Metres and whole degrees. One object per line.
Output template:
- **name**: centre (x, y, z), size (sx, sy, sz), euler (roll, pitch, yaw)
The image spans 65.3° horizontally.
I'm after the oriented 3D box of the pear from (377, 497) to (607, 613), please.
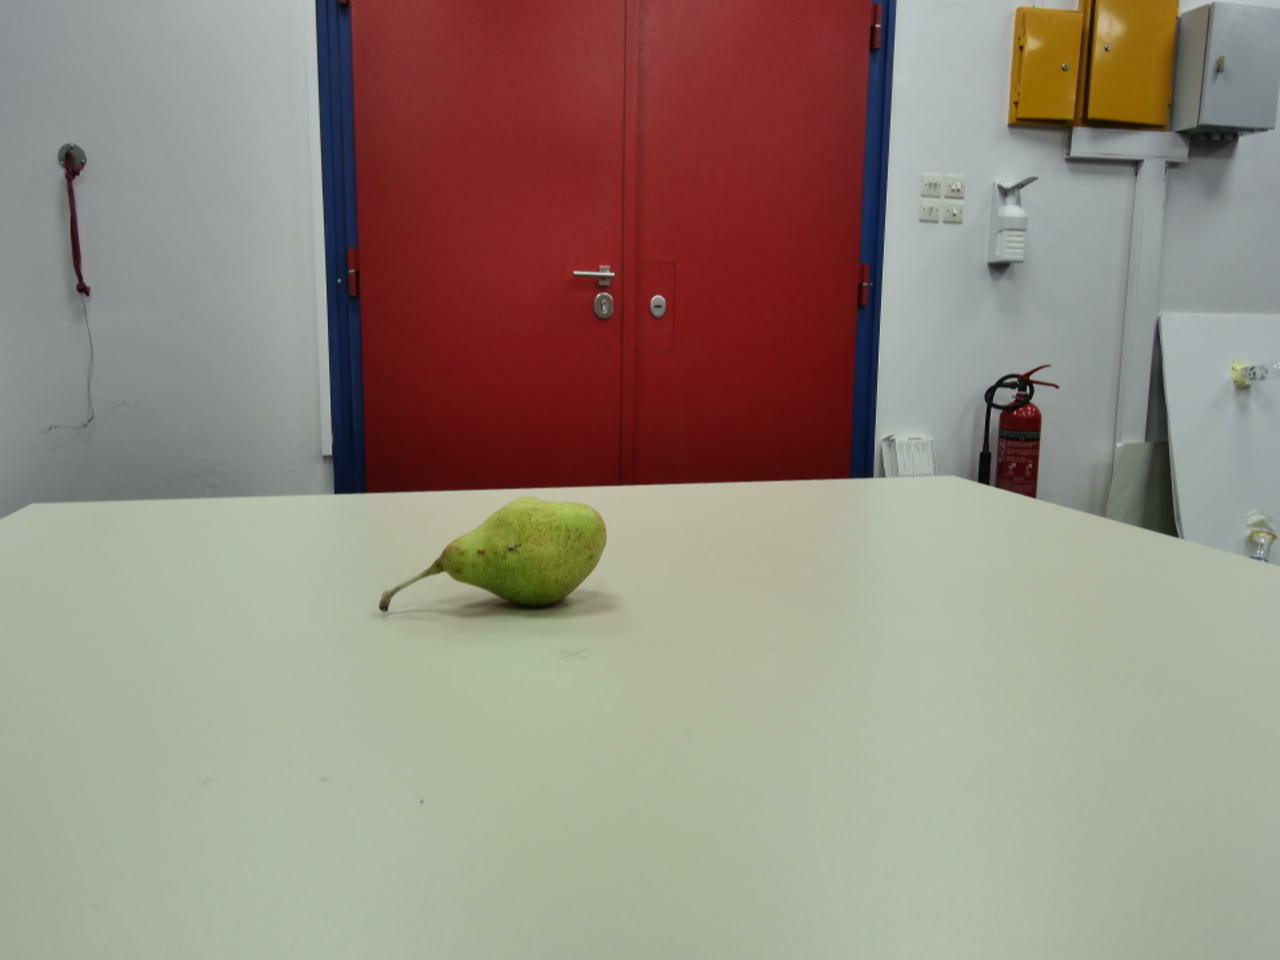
- **pear**: centre (-0.073, 0.037, 0.517), size (0.111, 0.056, 0.056), euler (0, 6, 2)
